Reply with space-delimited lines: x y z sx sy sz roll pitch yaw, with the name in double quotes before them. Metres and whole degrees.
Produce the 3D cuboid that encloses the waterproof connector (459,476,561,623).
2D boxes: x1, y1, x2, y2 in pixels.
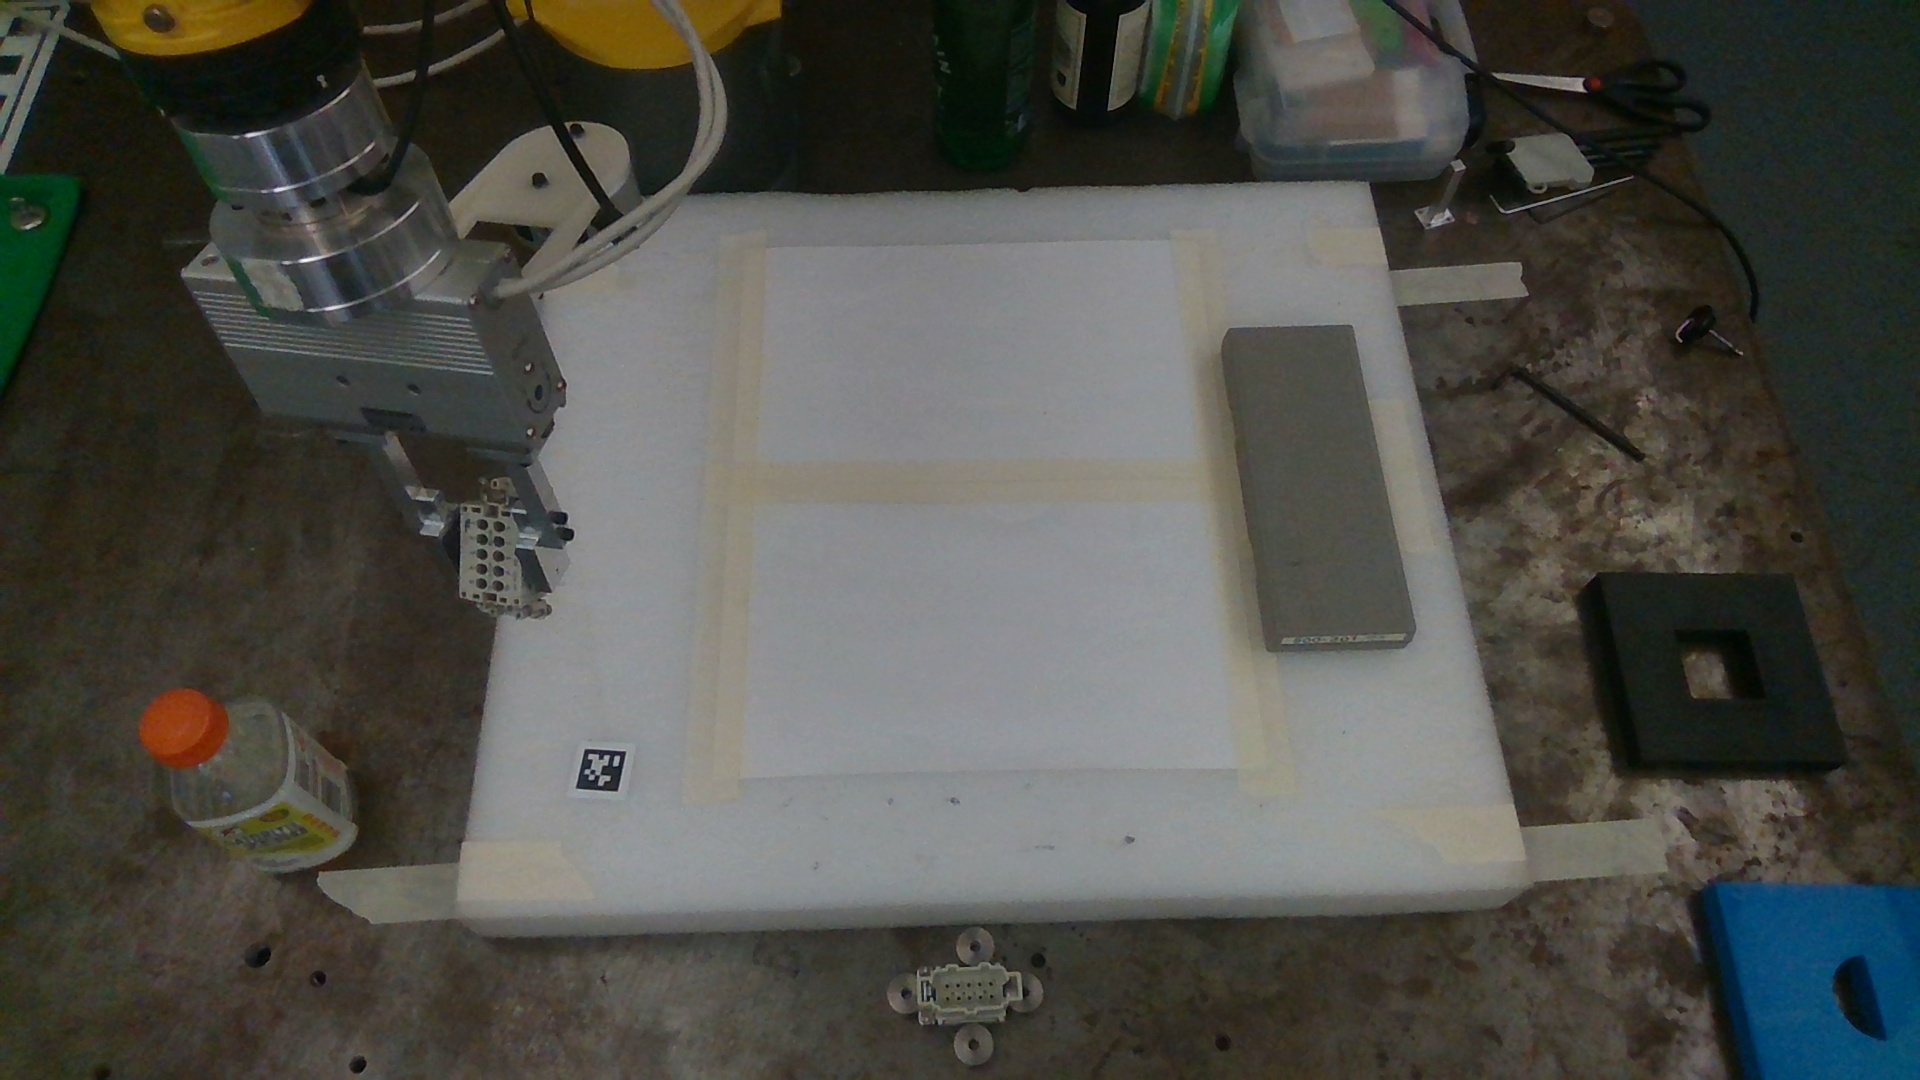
"waterproof connector" -0.211 0.005 0.656 0.037 0.038 0.069 8 103 18
